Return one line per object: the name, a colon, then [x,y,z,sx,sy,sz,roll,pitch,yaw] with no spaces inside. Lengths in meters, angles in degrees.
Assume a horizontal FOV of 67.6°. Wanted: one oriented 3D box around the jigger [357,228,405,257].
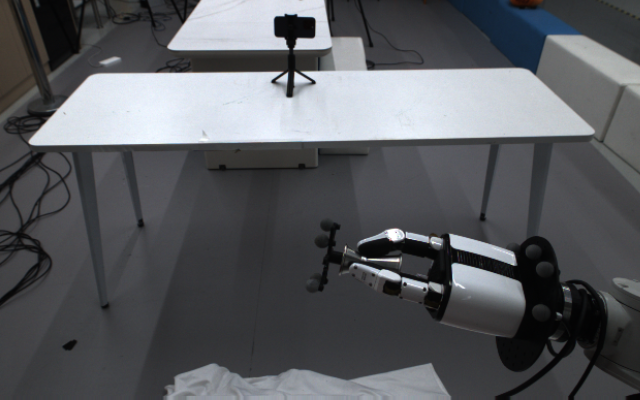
jigger: [0.067,0.075,0.576,0.071,0.043,0.043,12,36,5]
